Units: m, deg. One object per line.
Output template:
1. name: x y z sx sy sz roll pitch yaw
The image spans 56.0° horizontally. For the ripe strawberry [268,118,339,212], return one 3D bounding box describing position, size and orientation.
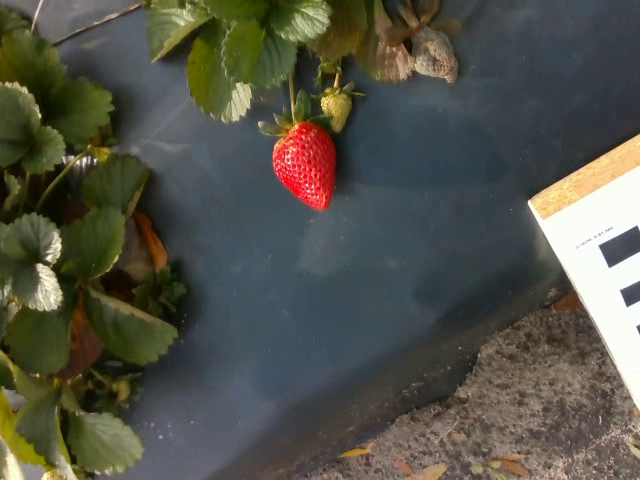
1. ripe strawberry: -0.006 -0.040 0.344 0.045 0.058 0.050 -29 -10 14
